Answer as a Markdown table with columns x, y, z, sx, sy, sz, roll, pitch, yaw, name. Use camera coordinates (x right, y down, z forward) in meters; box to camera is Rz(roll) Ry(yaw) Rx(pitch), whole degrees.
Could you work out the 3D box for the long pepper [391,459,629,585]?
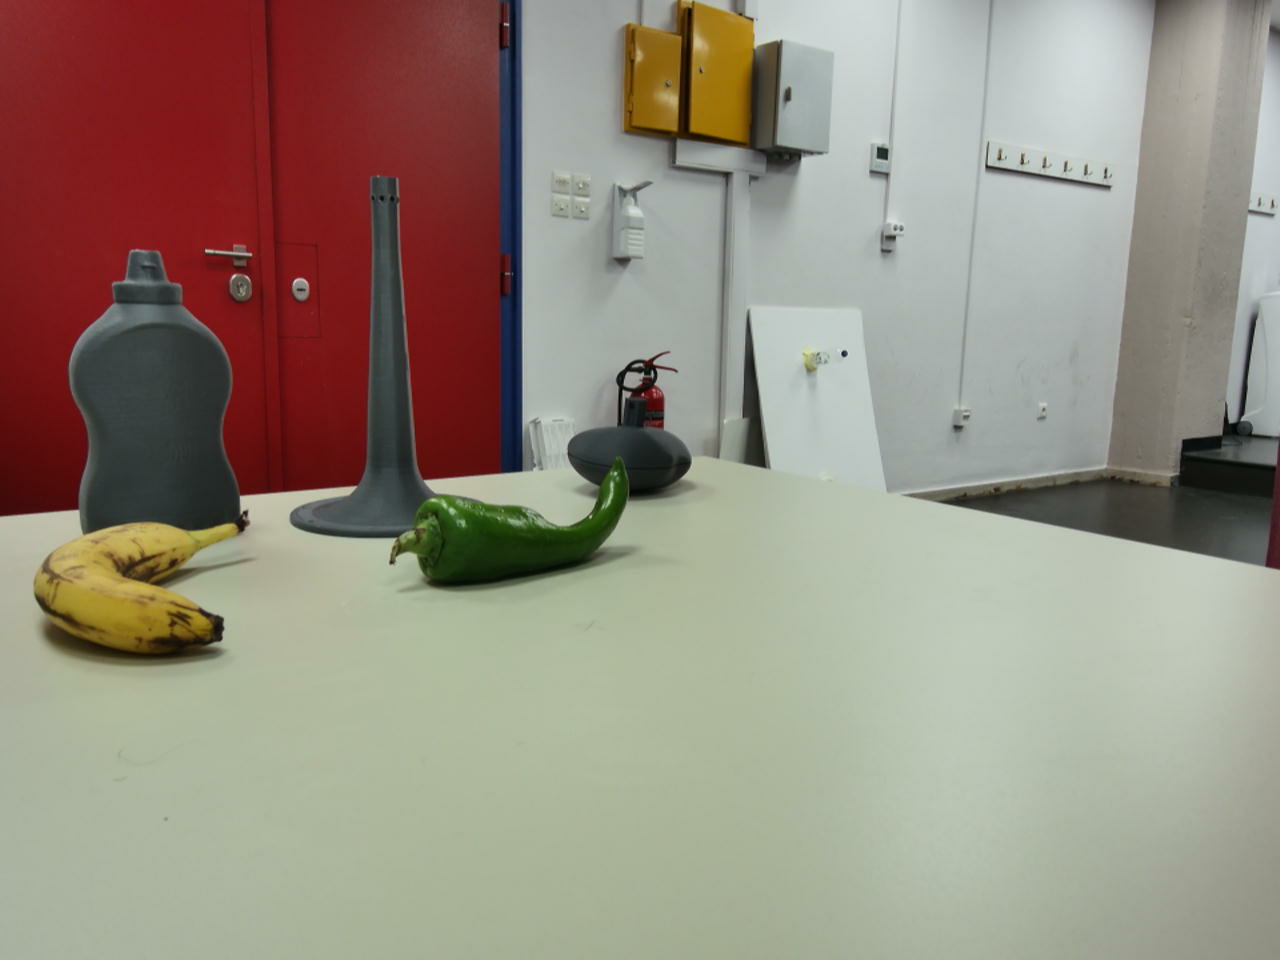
| x | y | z | sx | sy | sz | roll | pitch | yaw | name |
| --- | --- | --- | --- | --- | --- | --- | --- | --- | --- |
| -0.072 | 0.025 | 0.615 | 0.175 | 0.065 | 0.058 | -6 | 9 | -38 | long pepper |
